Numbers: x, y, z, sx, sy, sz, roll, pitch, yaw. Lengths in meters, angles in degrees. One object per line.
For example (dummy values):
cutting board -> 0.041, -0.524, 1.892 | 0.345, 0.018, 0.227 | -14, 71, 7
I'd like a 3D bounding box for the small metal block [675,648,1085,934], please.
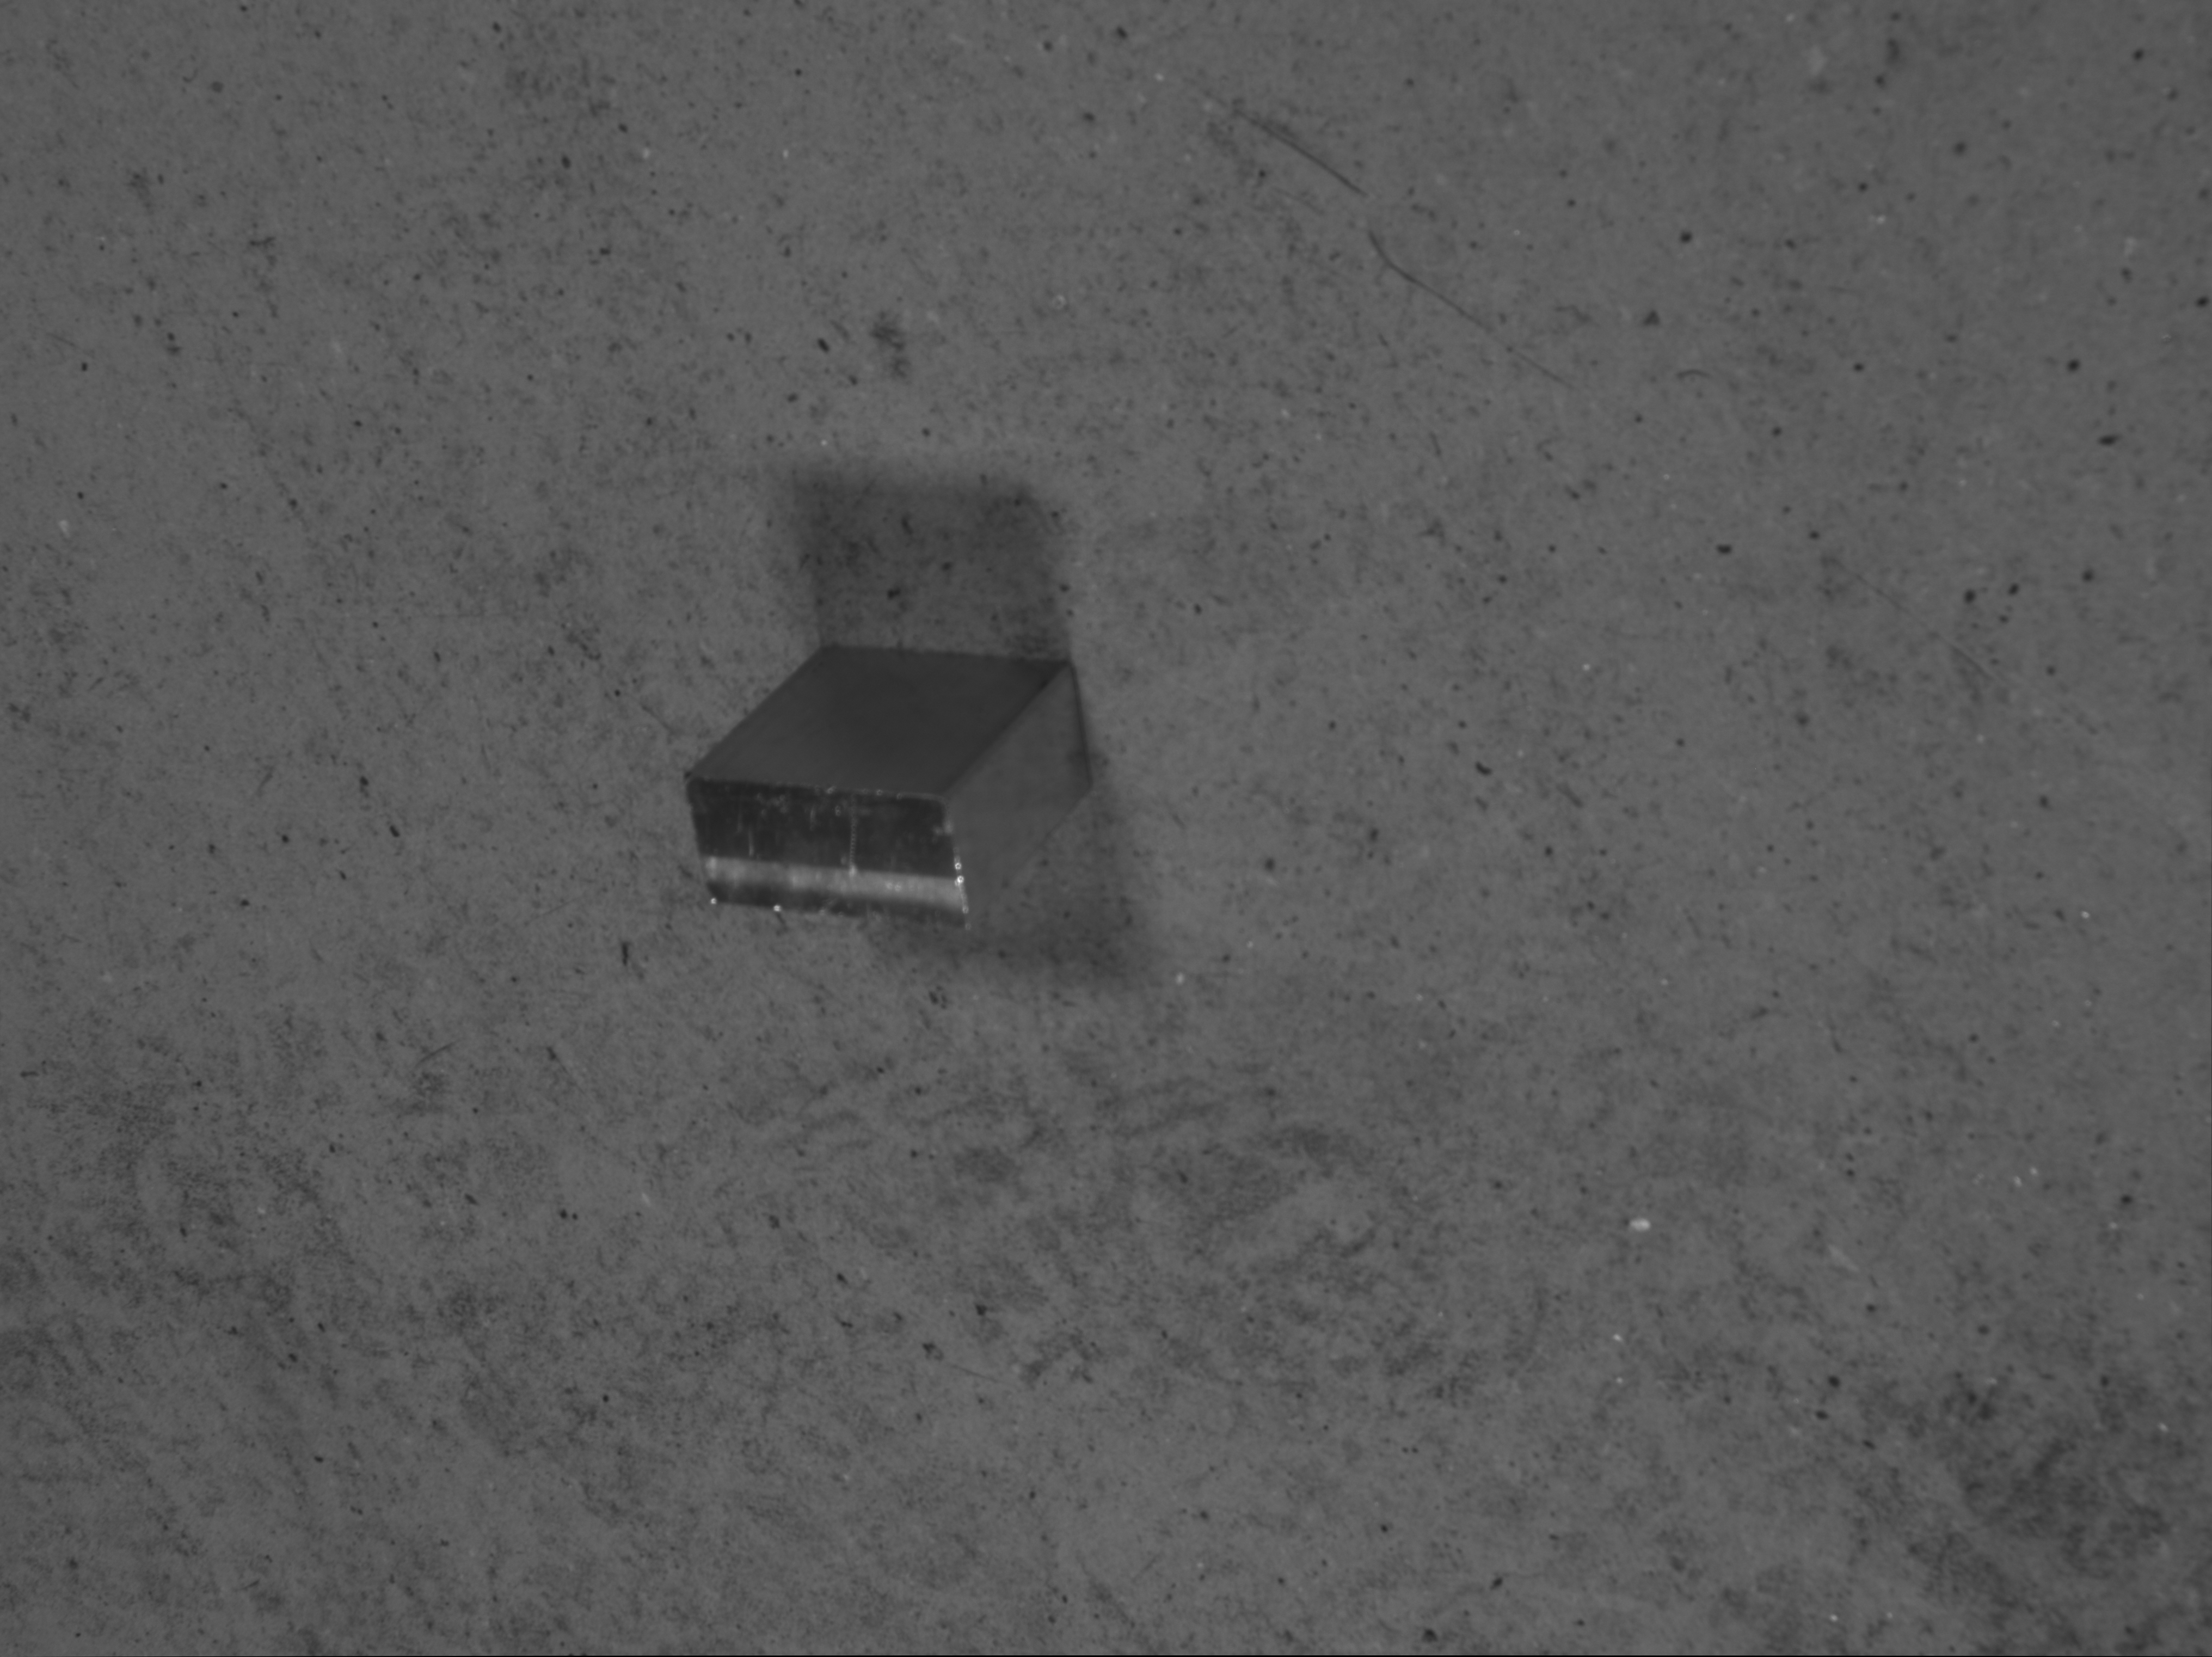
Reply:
small metal block -> -0.038, -0.007, 0.629 | 0.050, 0.050, 0.025 | 5, 120, 24
